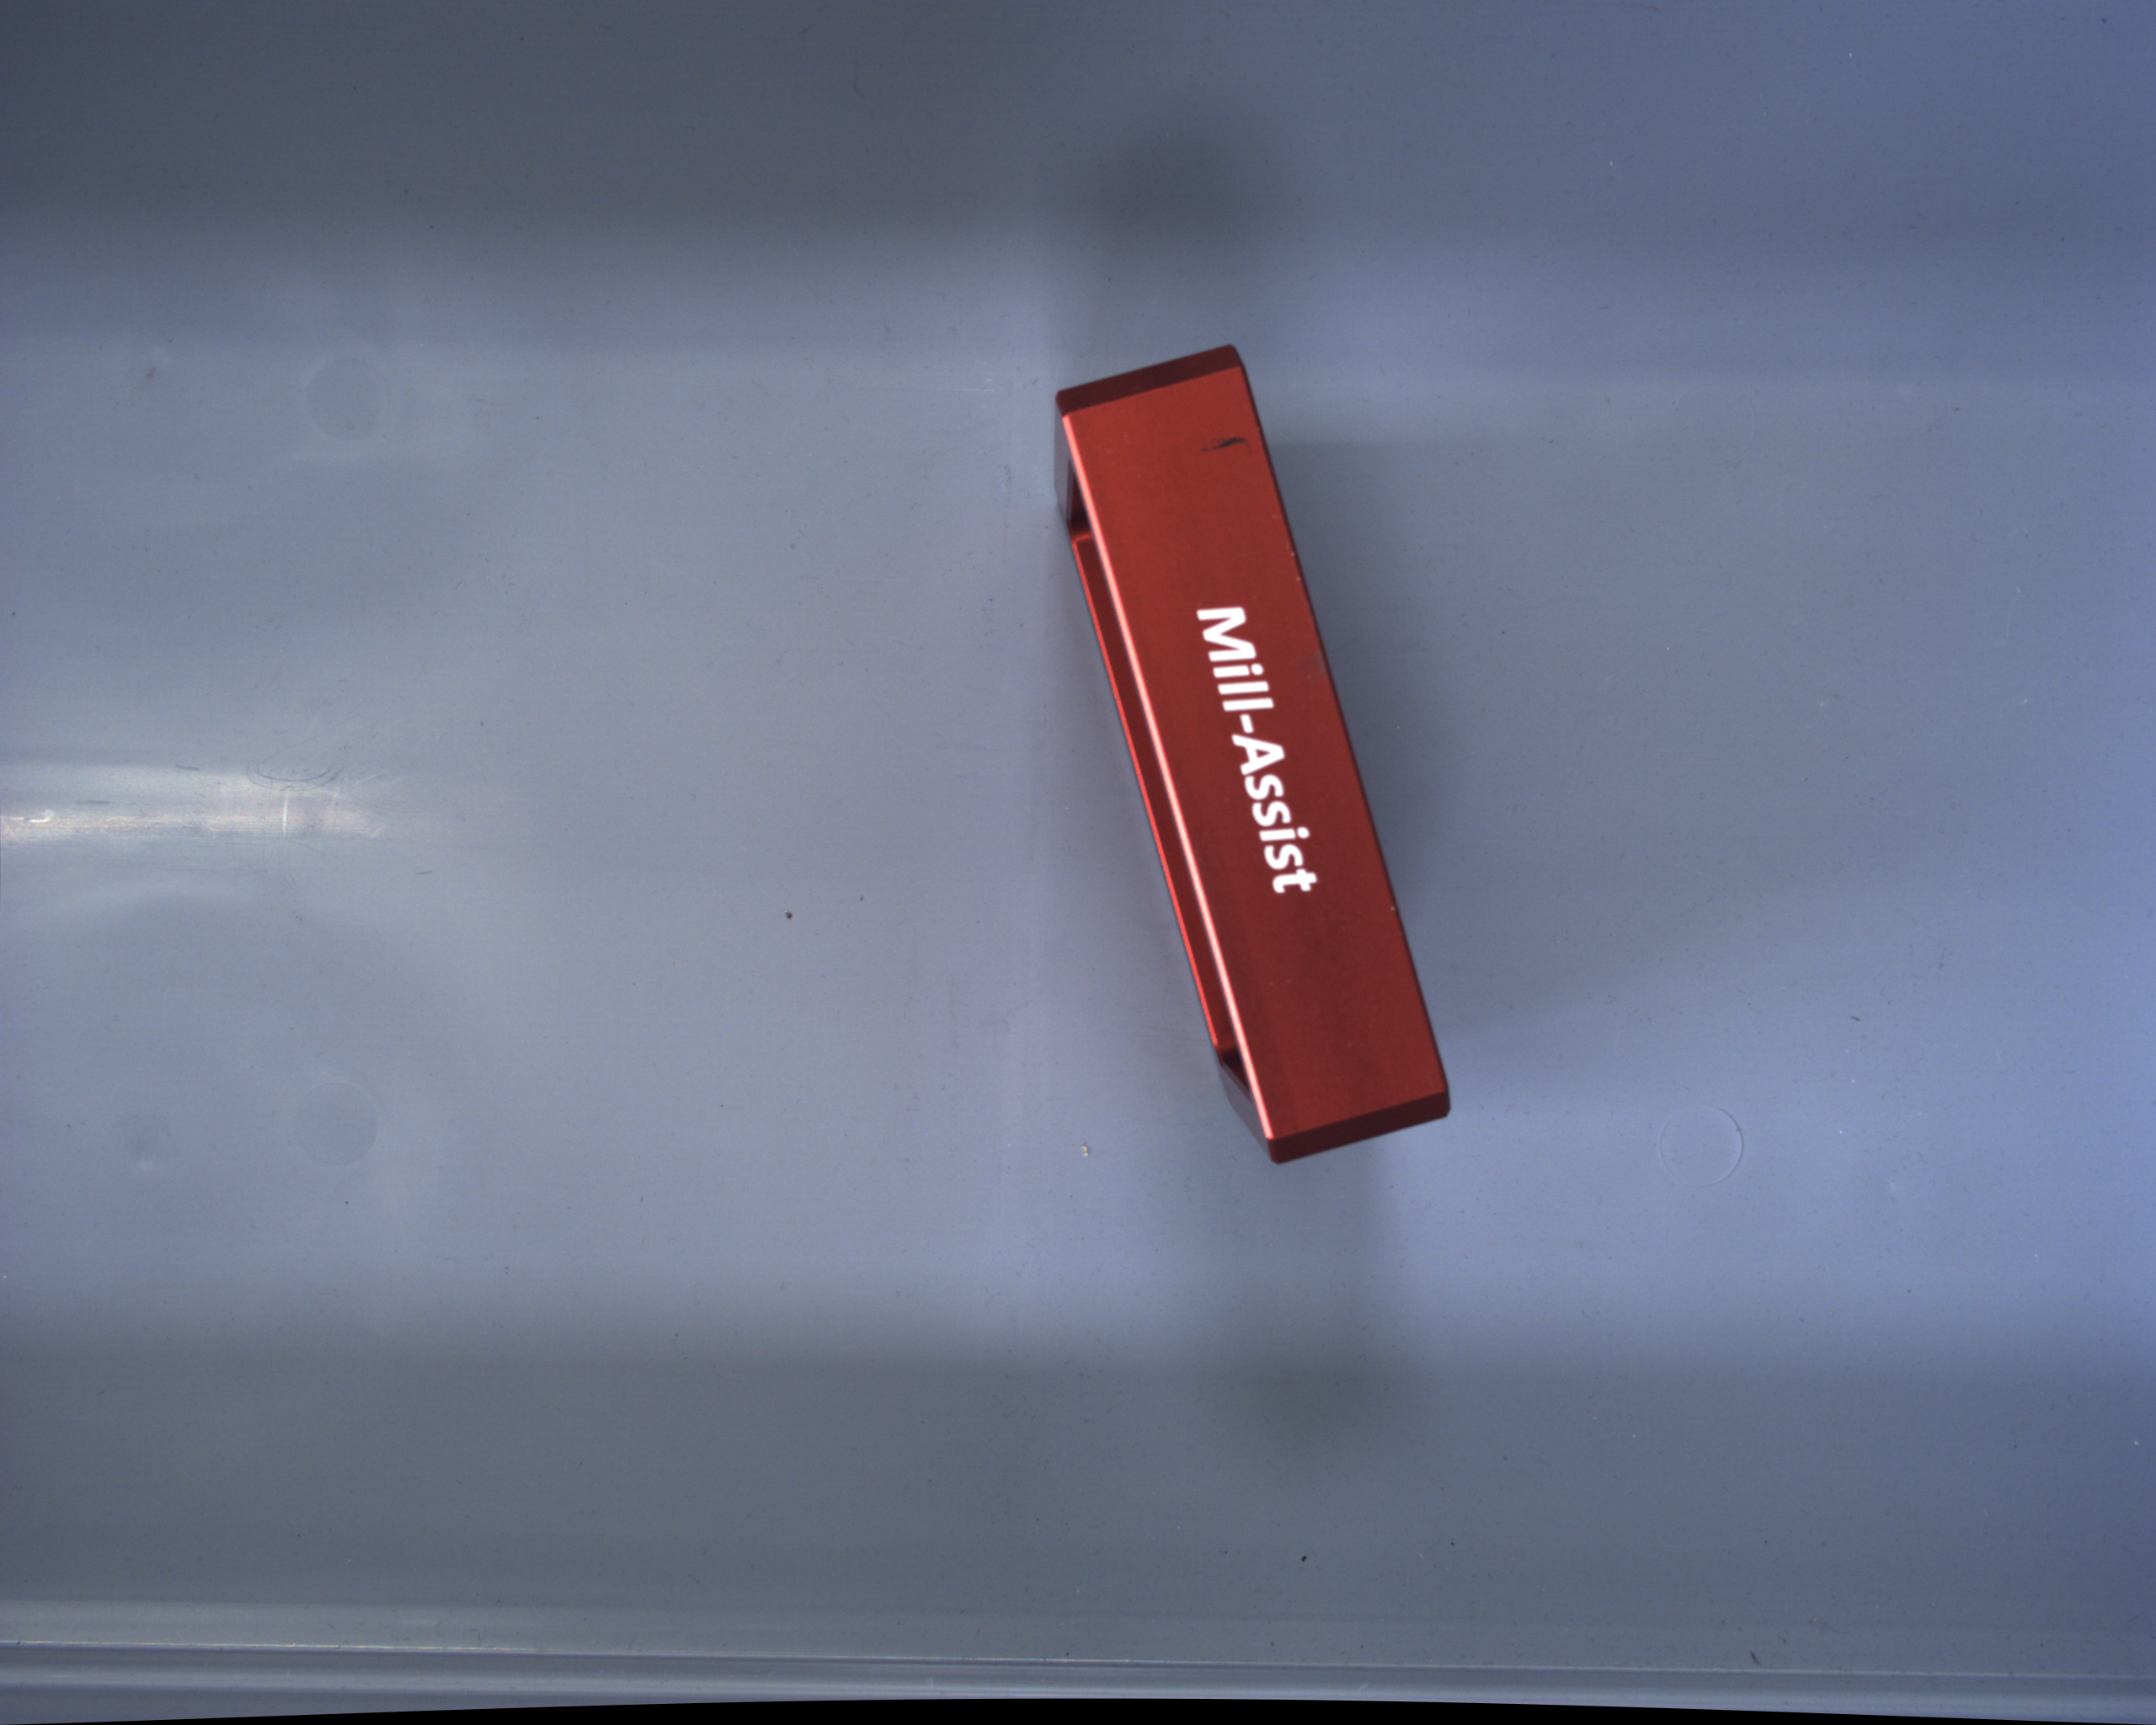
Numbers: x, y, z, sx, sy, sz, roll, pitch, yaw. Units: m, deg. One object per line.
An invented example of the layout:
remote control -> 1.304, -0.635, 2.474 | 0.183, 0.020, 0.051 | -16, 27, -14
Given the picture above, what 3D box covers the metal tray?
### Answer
metal tray -> 0.028, -0.017, 0.376 | 0.030, 0.090, 0.129 | -16, 90, -1
